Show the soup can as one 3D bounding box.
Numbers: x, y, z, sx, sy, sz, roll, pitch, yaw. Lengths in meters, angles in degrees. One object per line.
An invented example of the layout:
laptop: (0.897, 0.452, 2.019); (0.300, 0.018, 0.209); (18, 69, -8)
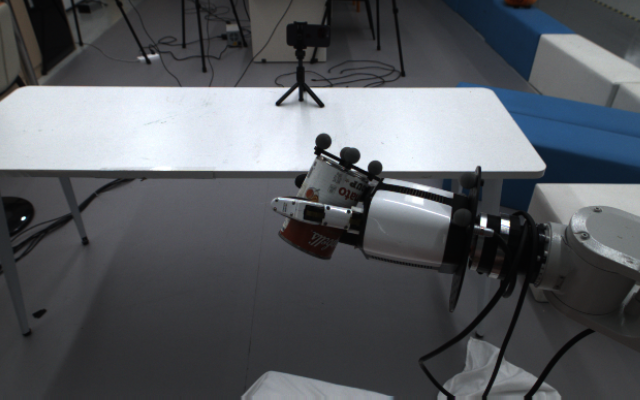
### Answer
soup can: (0.006, 0.008, 0.550); (0.067, 0.101, 0.067); (26, 5, -3)
